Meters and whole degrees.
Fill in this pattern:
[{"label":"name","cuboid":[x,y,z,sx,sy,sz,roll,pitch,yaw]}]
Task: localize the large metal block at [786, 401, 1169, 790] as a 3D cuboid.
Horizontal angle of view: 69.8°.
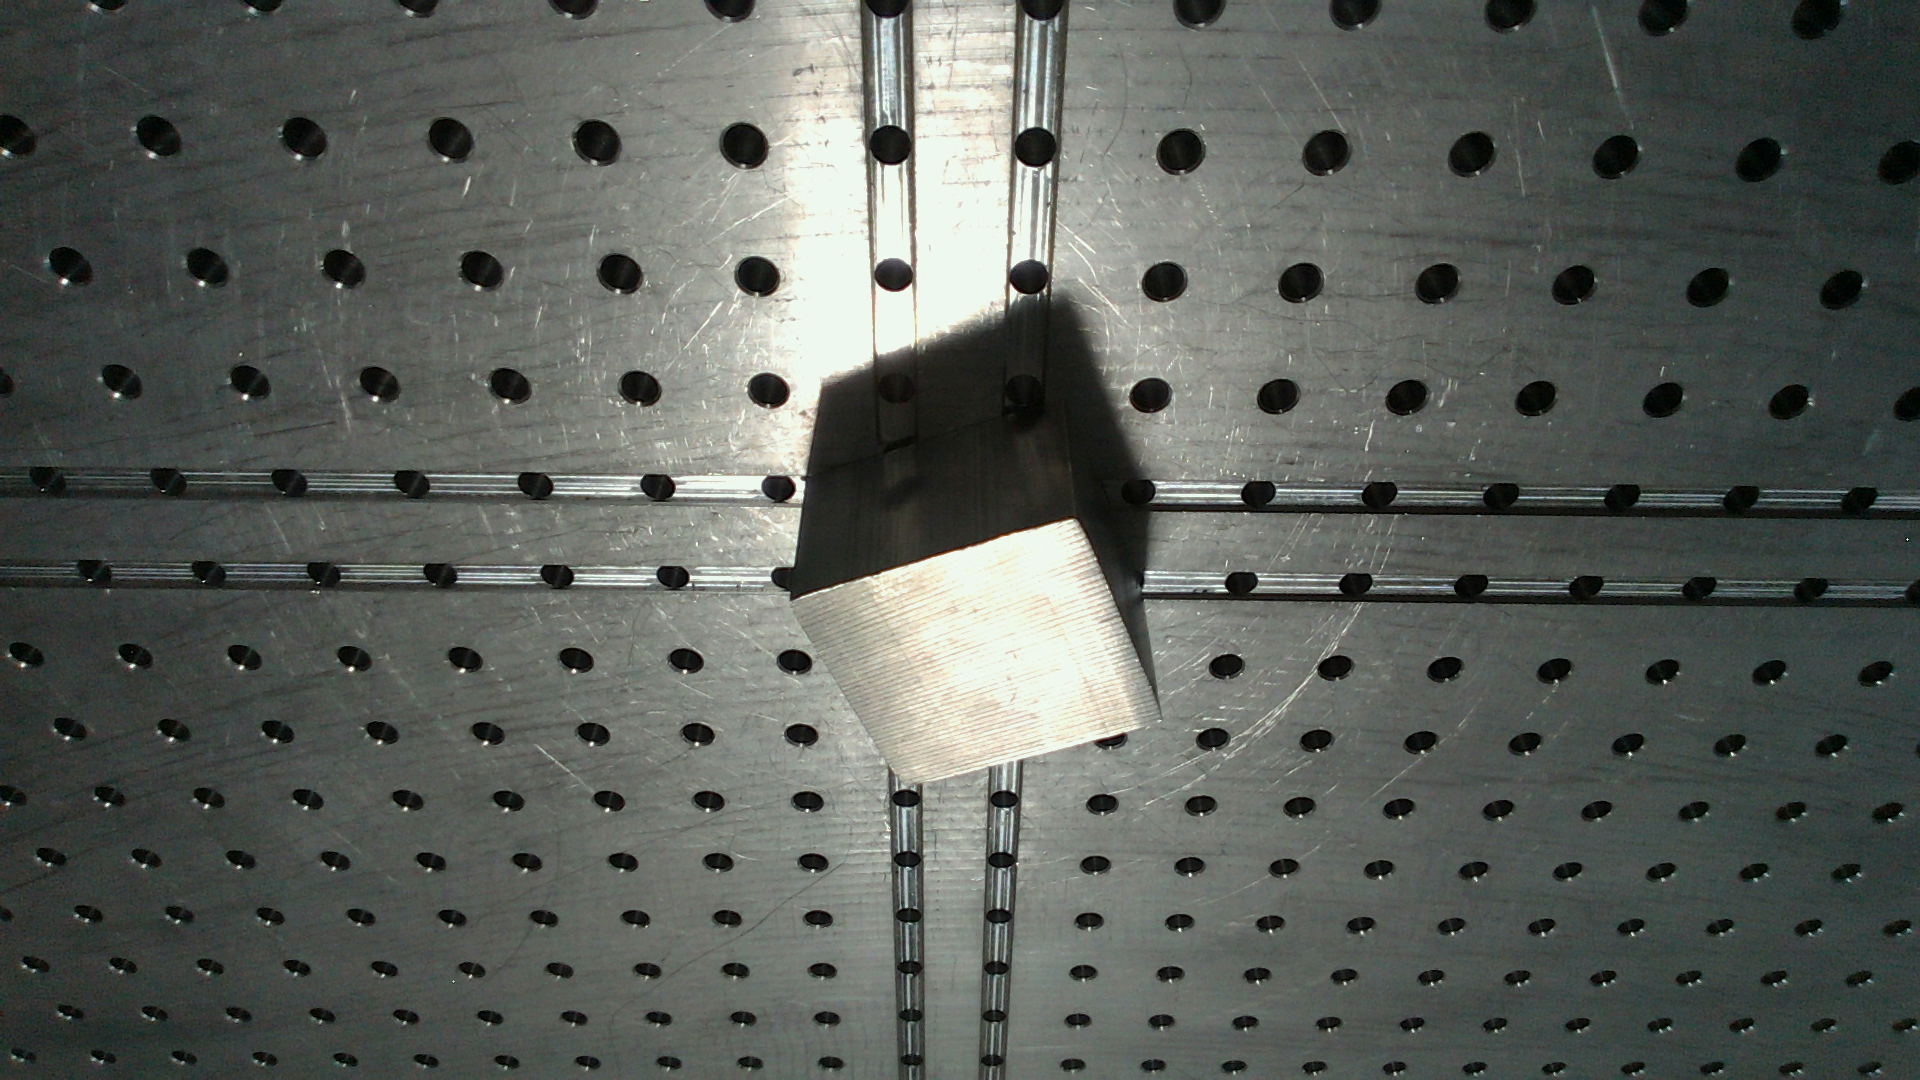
[{"label":"large metal block","cuboid":[0.007,0.018,0.389,0.080,0.050,0.080,-16,128,13]}]
